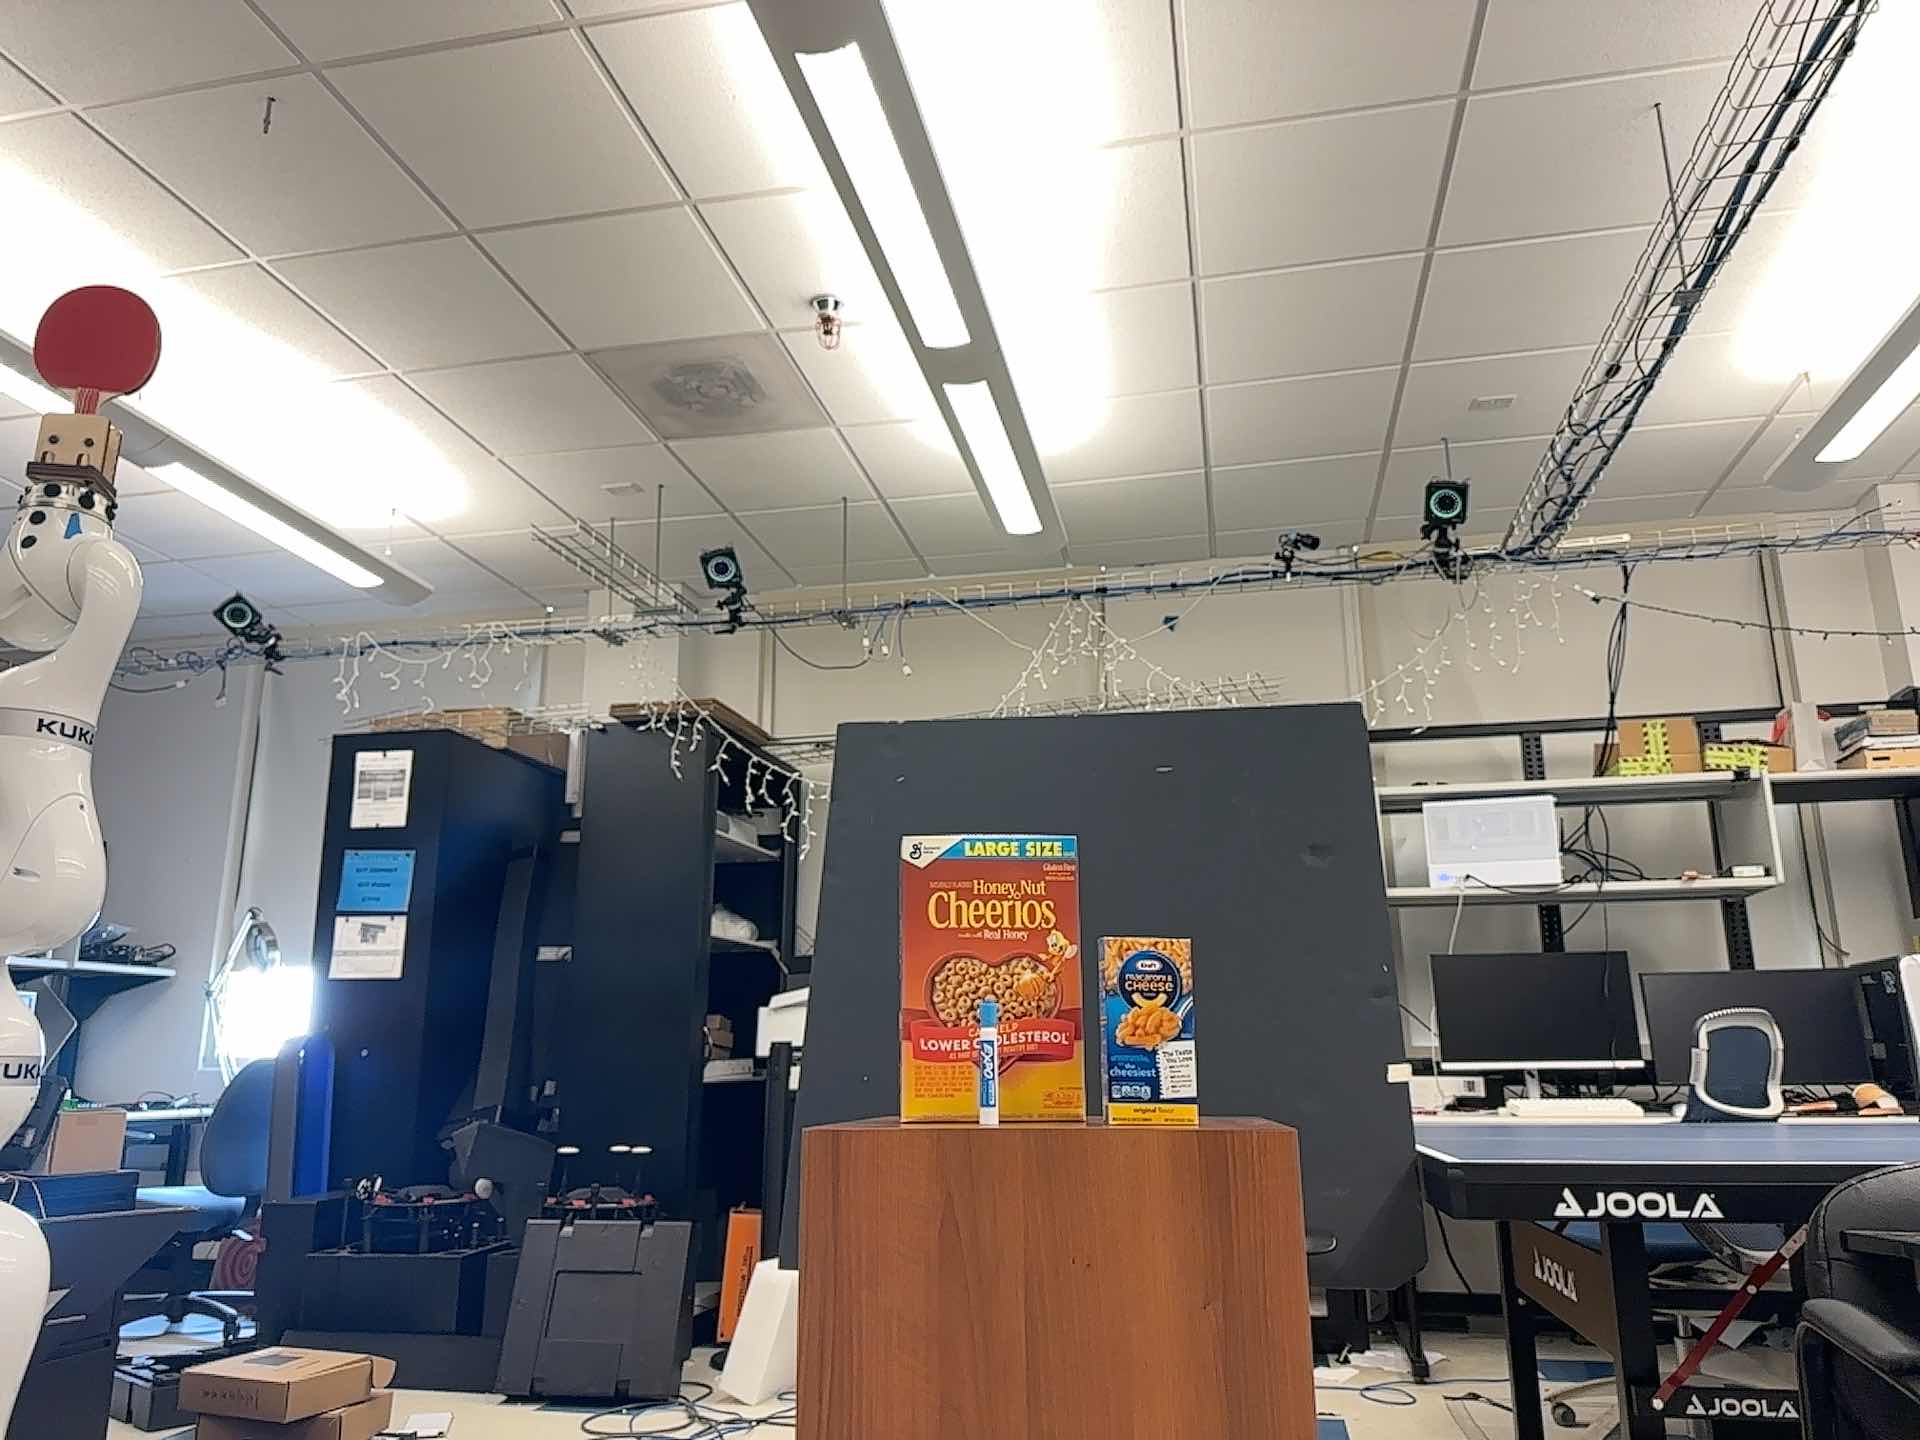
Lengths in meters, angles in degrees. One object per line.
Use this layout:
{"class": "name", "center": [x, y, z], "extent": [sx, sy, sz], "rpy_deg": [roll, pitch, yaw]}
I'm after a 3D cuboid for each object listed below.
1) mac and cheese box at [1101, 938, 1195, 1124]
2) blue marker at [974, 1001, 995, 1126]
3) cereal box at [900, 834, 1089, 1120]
{"class": "mac and cheese box", "center": [0.191, 0.317, 1.382], "extent": [0.088, 0.181, 0.035], "rpy_deg": [-1, -15, 6]}
{"class": "blue marker", "center": [0.024, 0.346, 1.363], "extent": [0.020, 0.121, 0.020], "rpy_deg": [0, -13, 0]}
{"class": "cereal box", "center": [0.035, 0.279, 1.482], "extent": [0.195, 0.297, 0.065], "rpy_deg": [1, -14, 0]}
